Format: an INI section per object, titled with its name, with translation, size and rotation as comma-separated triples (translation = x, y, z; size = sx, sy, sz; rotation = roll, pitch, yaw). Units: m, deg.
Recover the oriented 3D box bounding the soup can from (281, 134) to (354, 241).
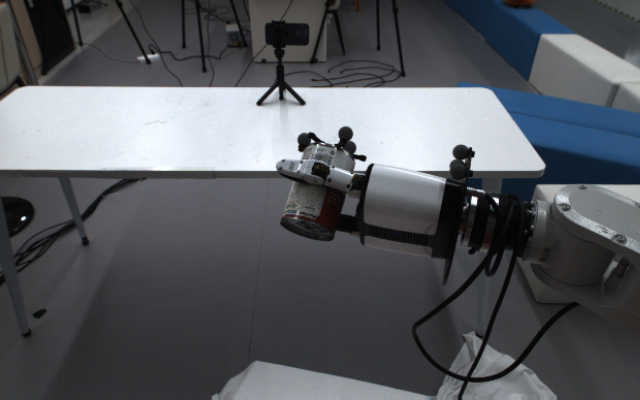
[soup can]
translation = 0.000, -0.010, 0.585
size = 0.067, 0.067, 0.101
rotation = 12, 70, 14
